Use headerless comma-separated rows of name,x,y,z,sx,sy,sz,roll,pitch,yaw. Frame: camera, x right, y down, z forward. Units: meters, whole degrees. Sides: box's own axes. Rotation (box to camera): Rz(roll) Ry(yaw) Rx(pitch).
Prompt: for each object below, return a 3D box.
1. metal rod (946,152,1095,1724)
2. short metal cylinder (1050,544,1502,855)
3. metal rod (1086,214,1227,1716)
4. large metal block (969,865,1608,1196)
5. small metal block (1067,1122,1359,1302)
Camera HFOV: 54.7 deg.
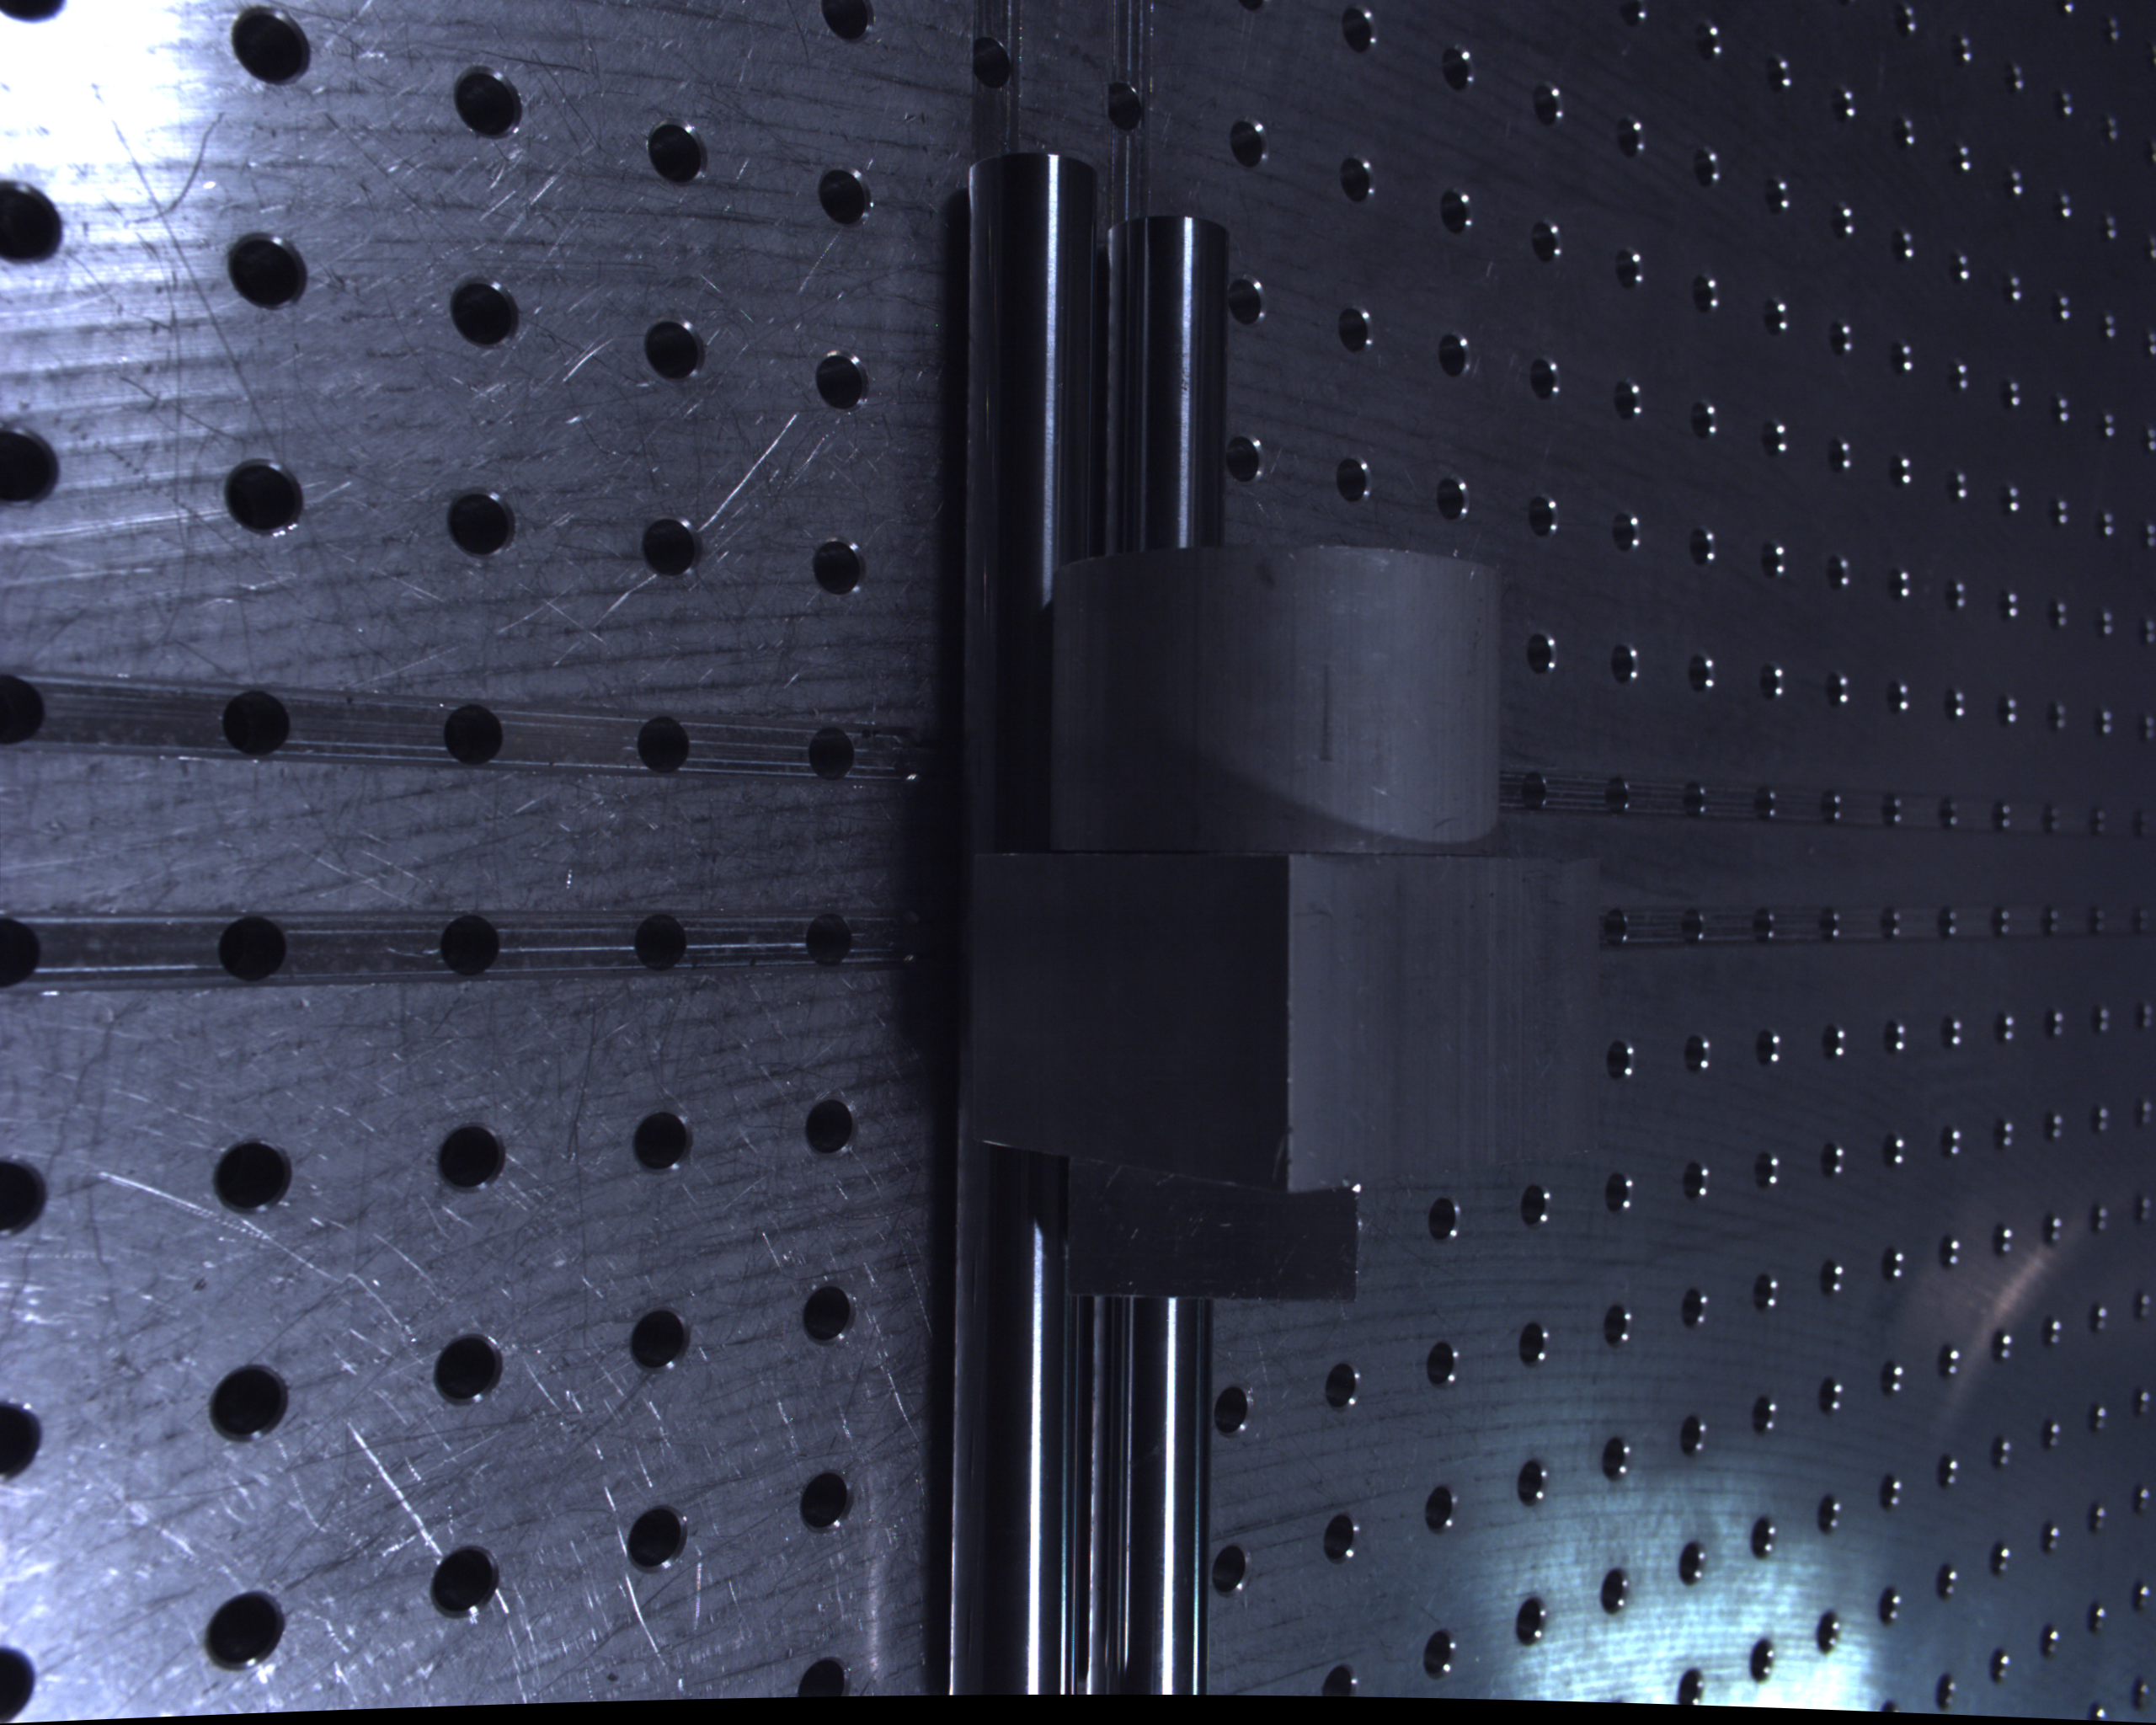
metal rod,-0.011,0.016,0.403,0.025,0.025,0.298,1,89,-40
short metal cylinder,0.036,-0.027,0.377,0.081,0.080,0.050,1,90,-40
metal rod,0.016,0.020,0.426,0.025,0.025,0.298,1,89,-40
large metal block,0.037,0.026,0.374,0.081,0.080,0.050,0,90,-40
small metal block,0.026,0.063,0.387,0.050,0.050,0.025,3,87,-85
